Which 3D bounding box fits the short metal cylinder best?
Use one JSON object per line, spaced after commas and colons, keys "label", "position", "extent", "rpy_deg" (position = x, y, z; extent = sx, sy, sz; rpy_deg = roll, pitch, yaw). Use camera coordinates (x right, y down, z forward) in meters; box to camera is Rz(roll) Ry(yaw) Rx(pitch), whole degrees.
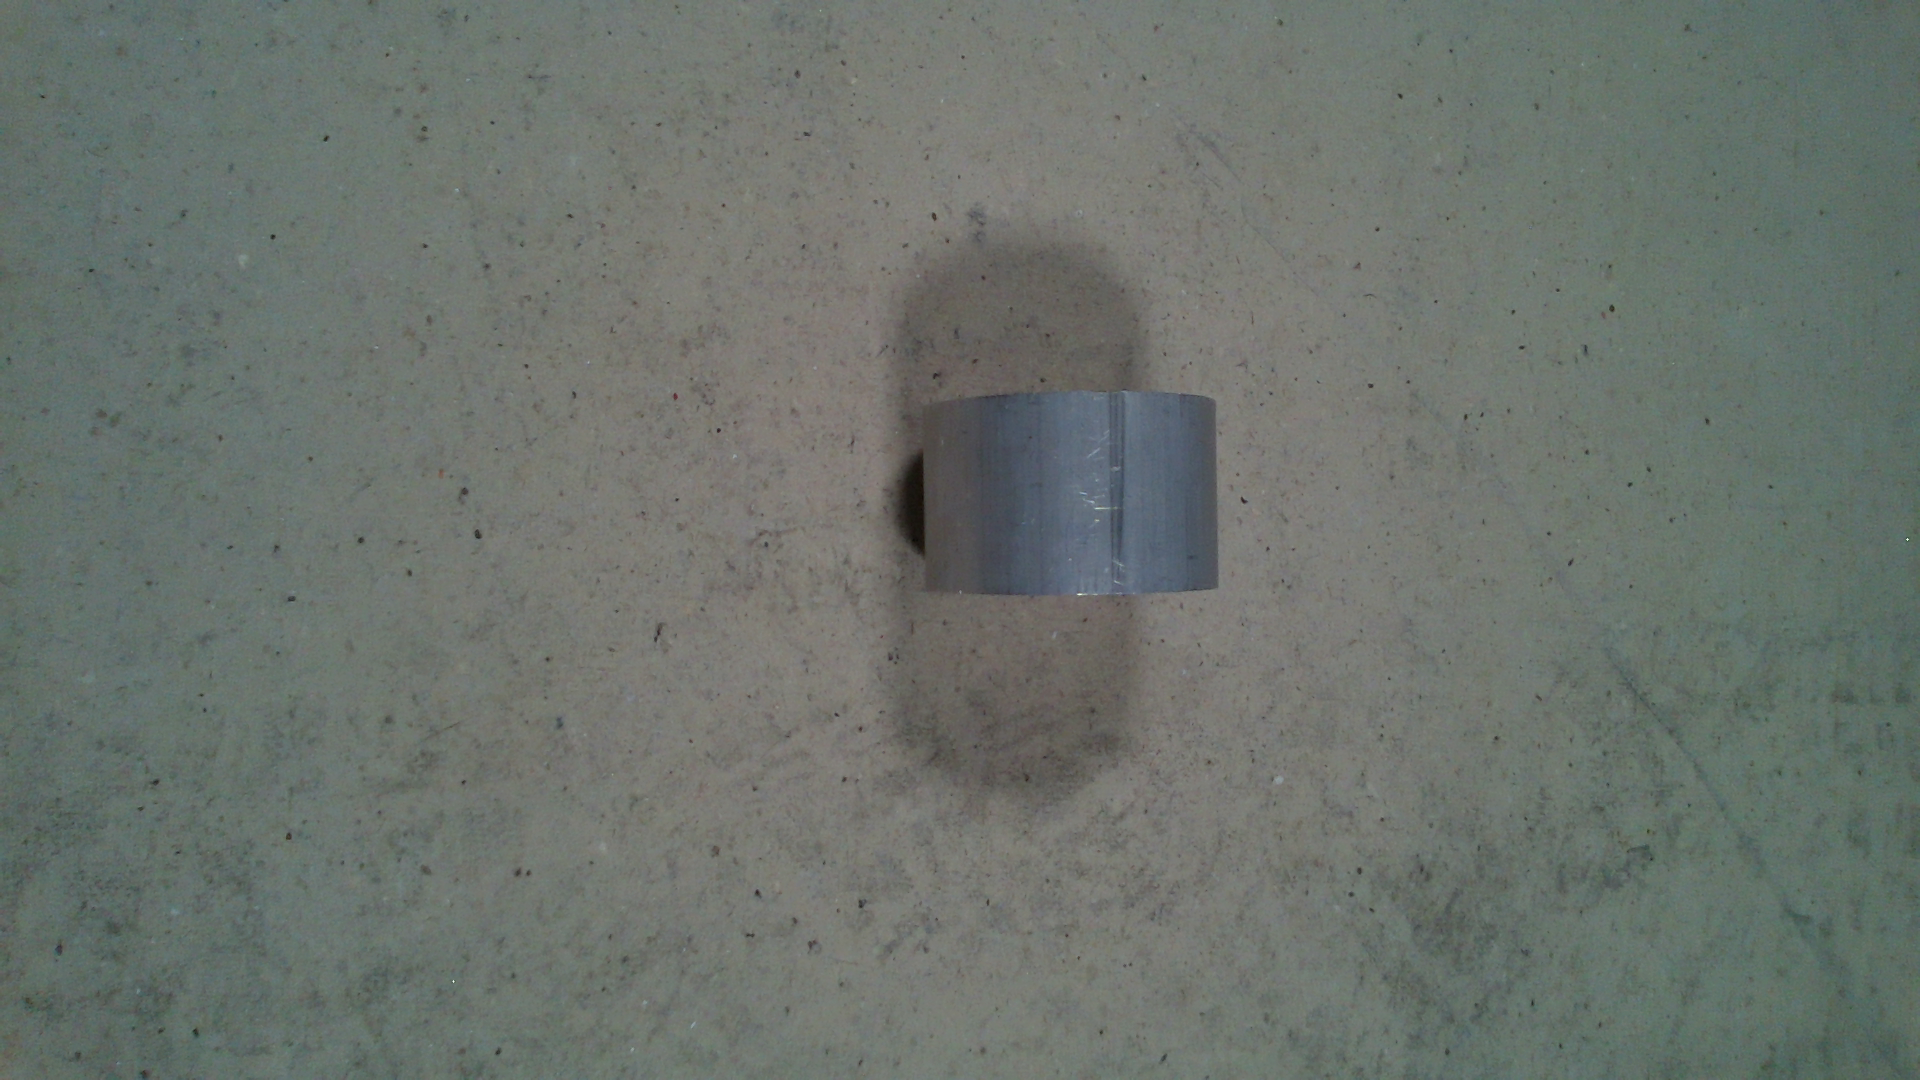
{"label": "short metal cylinder", "position": [0.030, -0.012, 0.376], "extent": [0.080, 0.080, 0.050], "rpy_deg": [-1, 91, -20]}
